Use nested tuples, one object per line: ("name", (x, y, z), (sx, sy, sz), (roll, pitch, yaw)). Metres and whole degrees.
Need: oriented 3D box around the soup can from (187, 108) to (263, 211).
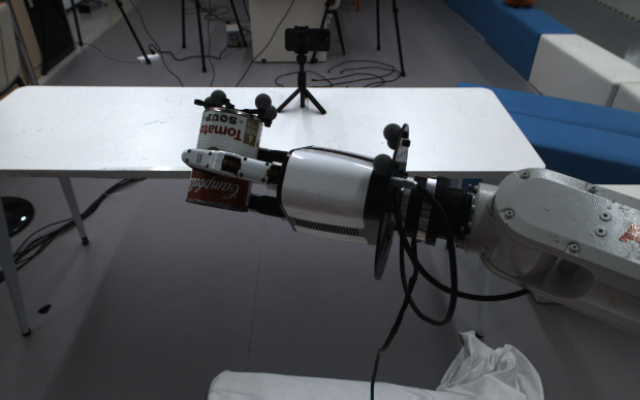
("soup can", (-0.102, -0.042, 0.530), (0.067, 0.101, 0.067), (9, -5, 1))
